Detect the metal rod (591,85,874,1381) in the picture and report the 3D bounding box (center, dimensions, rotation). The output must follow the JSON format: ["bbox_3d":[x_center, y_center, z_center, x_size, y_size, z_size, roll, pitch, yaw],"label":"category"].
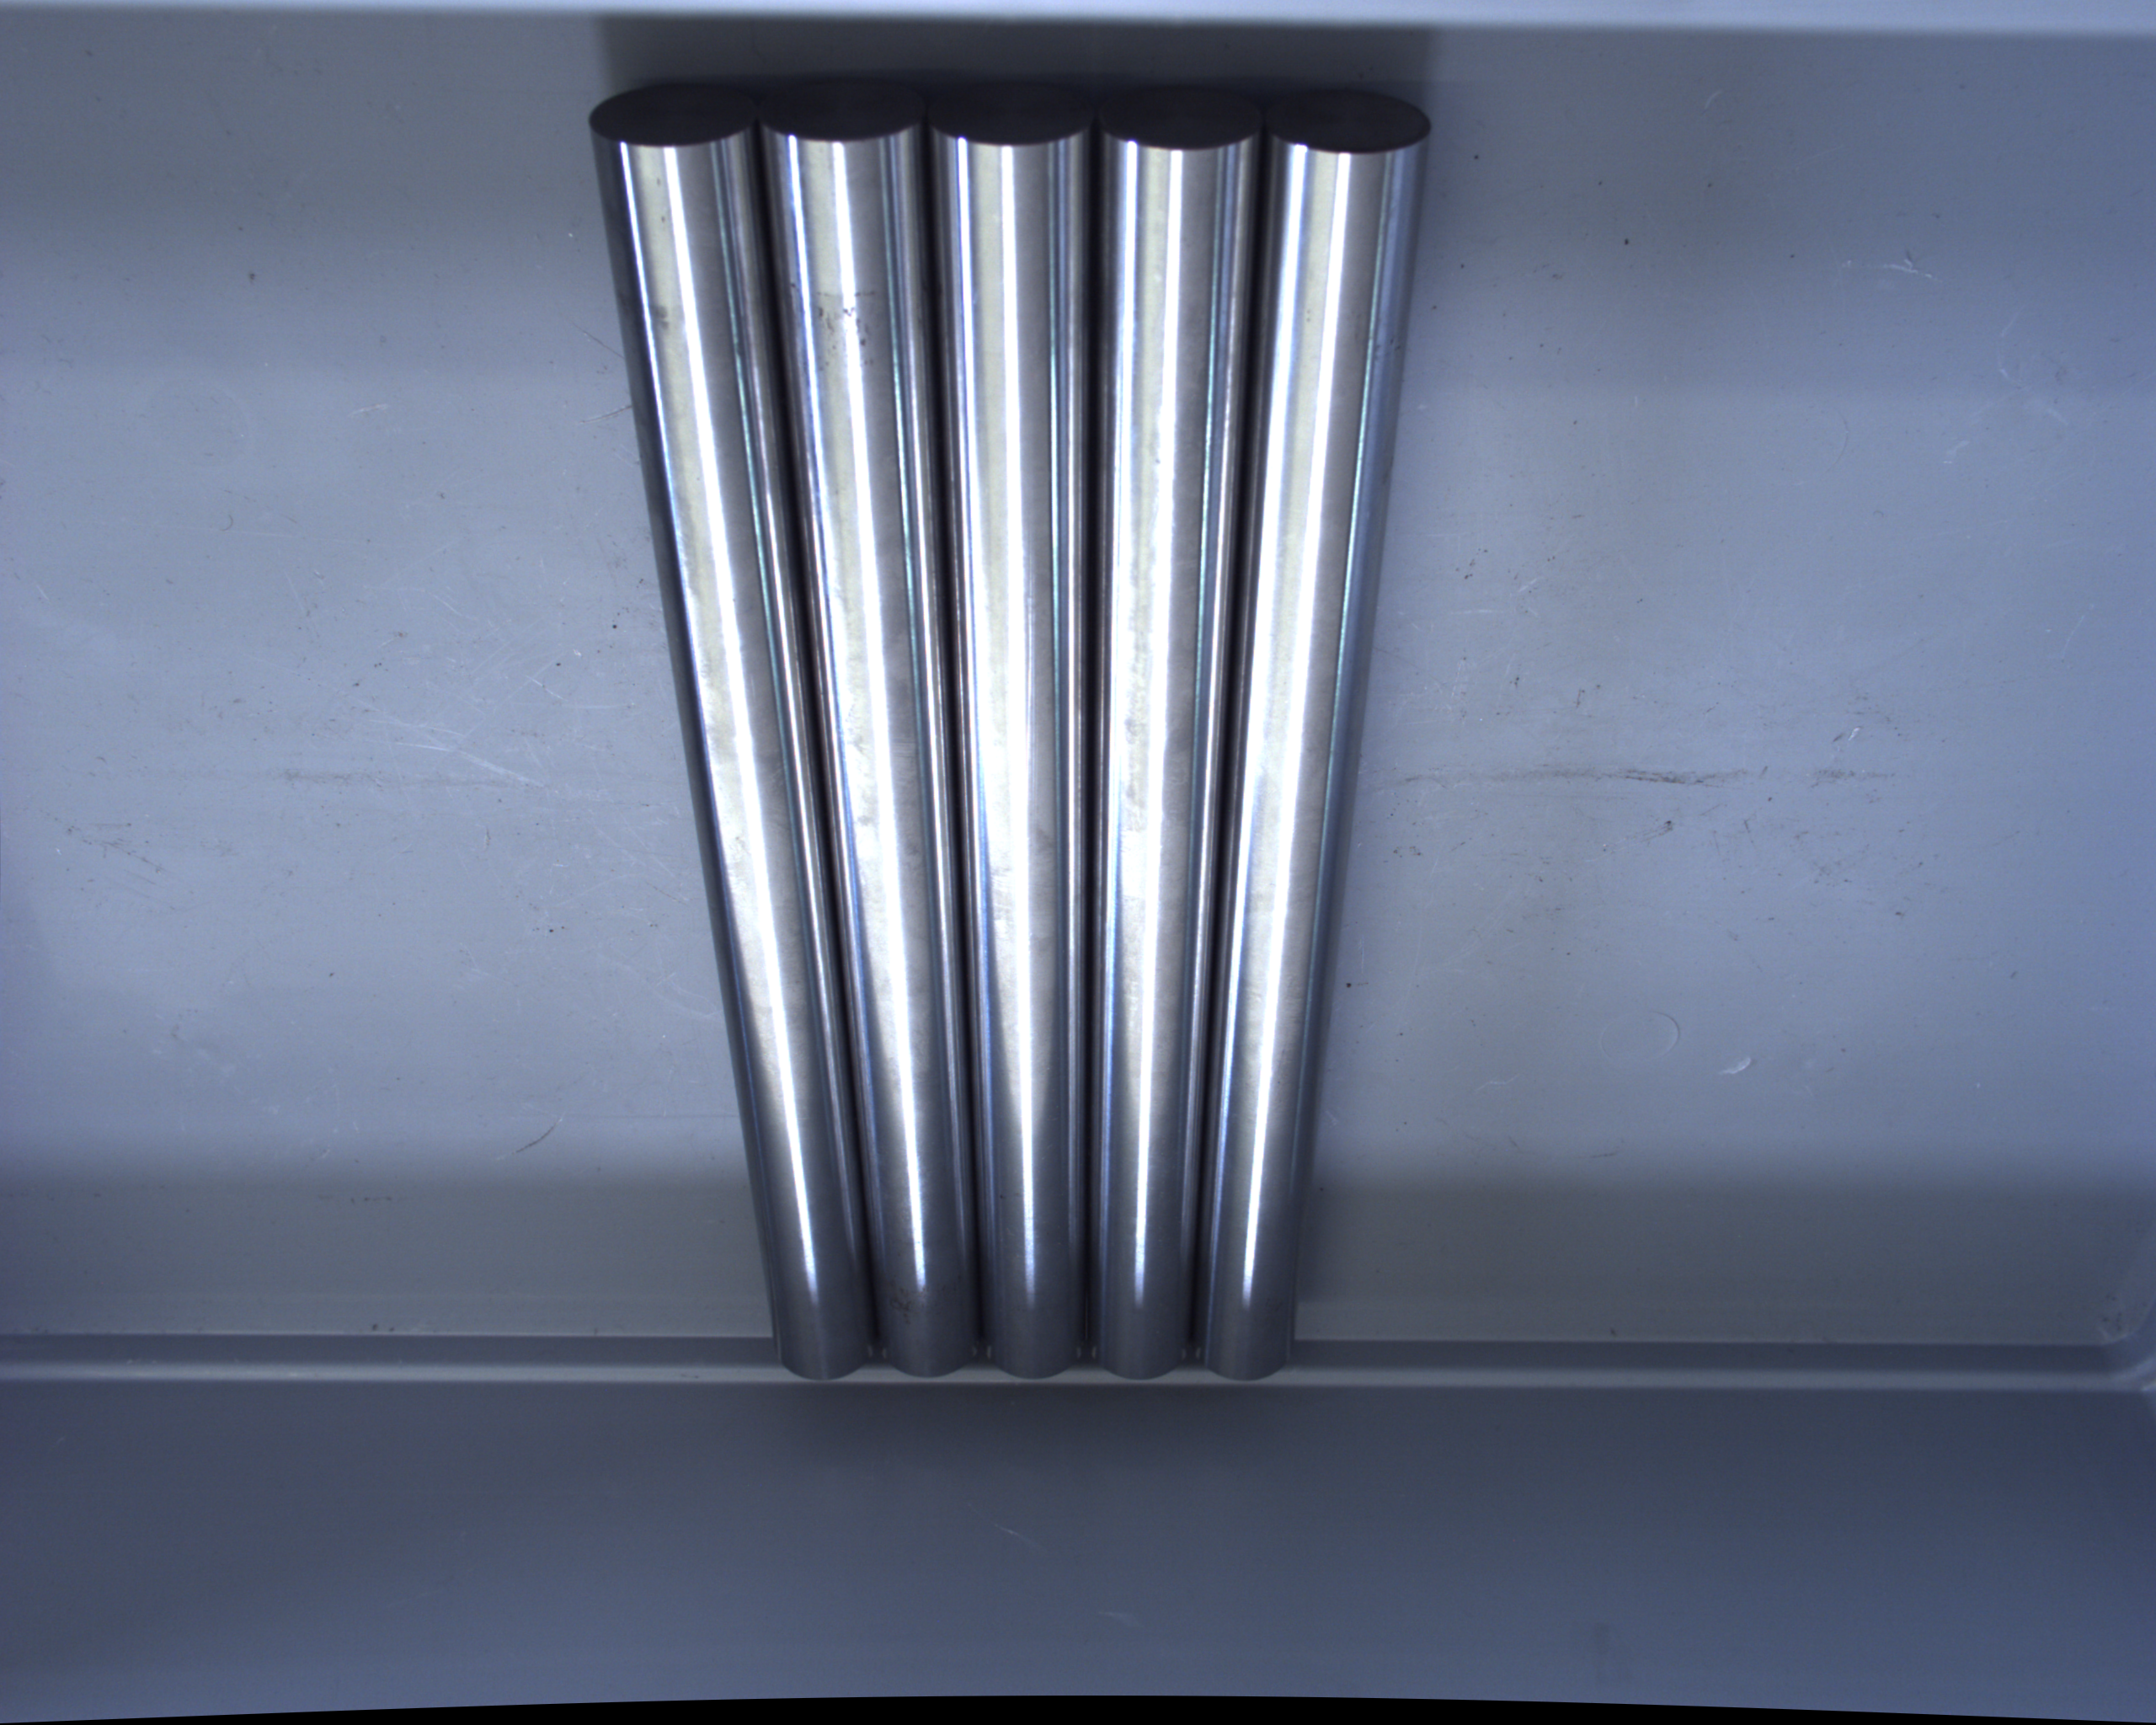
[{"bbox_3d":[-0.060,0.002,0.408,0.025,0.025,0.298,0,130,0],"label":"metal rod"}]

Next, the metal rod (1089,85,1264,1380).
[{"bbox_3d":[0.015,0.002,0.409,0.025,0.025,0.298,0,130,0],"label":"metal rod"}]

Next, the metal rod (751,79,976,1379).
[{"bbox_3d":[-0.036,0.001,0.408,0.025,0.025,0.298,0,130,0],"label":"metal rod"}]

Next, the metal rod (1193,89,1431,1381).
[{"bbox_3d":[0.040,0.002,0.409,0.025,0.025,0.298,0,130,0],"label":"metal rod"}]

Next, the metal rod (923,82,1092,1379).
[{"bbox_3d":[-0.011,0.001,0.408,0.025,0.025,0.298,0,130,0],"label":"metal rod"}]
